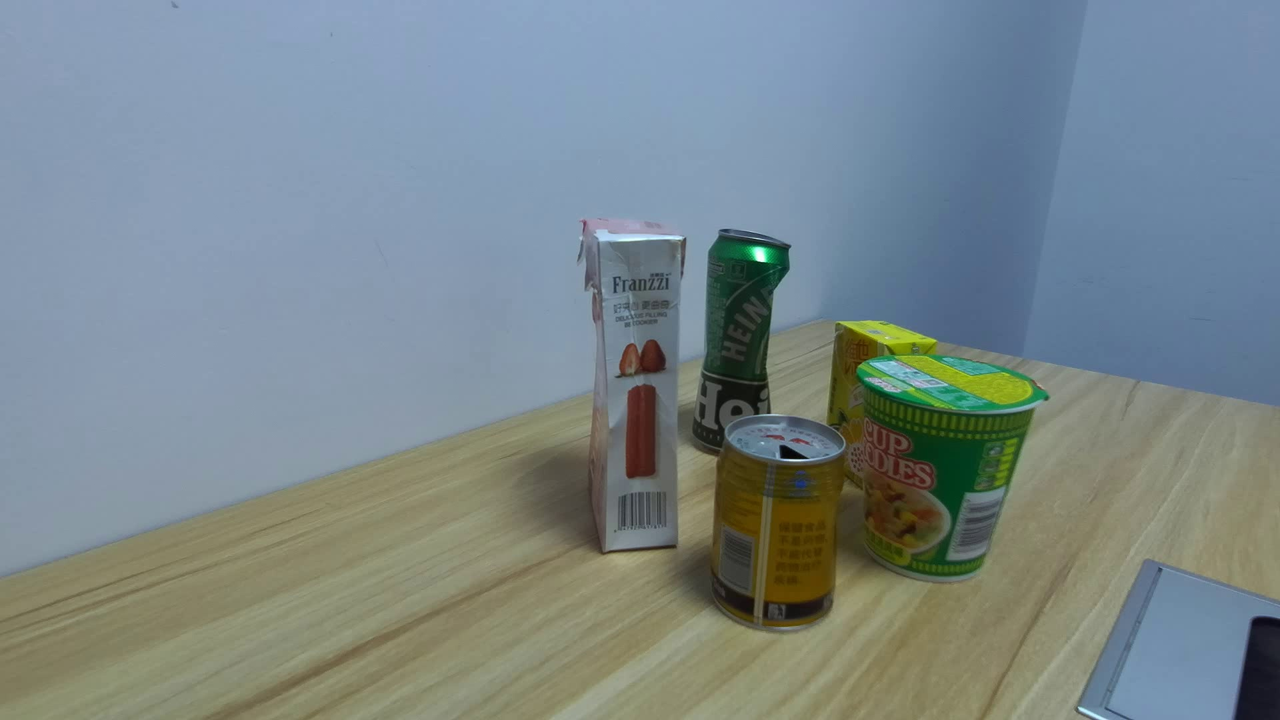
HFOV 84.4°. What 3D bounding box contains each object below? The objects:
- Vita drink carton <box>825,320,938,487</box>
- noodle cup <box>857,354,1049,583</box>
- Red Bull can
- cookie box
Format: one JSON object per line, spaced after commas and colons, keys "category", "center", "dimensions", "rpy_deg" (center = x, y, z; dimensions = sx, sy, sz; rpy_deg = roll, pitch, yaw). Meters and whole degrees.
{"category": "Vita drink carton", "center": [0.171, 0.011, 0.524], "dimensions": [0.043, 0.108, 0.076], "rpy_deg": [-3, 102, -10]}
{"category": "noodle cup", "center": [0.168, 0.062, 0.403], "dimensions": [0.097, 0.097, 0.110], "rpy_deg": [-3, 106, -11]}
{"category": "Red Bull can", "center": [0.071, 0.081, 0.363], "dimensions": [0.068, 0.068, 0.093], "rpy_deg": [-3, 108, -11]}
{"category": "cookie box", "center": [-0.008, 0.013, 0.428], "dimensions": [0.059, 0.105, 0.186], "rpy_deg": [1, 106, -8]}
